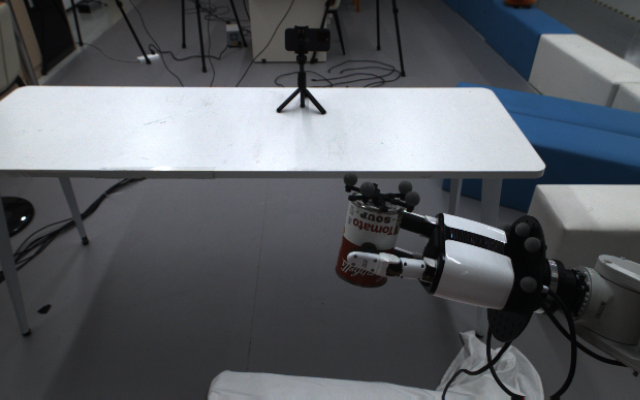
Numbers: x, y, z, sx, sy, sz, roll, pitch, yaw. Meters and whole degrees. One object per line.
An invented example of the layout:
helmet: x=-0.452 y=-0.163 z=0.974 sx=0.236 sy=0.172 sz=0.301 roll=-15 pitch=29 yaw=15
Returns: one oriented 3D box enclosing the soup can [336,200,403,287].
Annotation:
soup can: x=0.063 y=0.046 z=0.599 sx=0.067 sy=0.101 sz=0.067 roll=9 pitch=20 yaw=-3
